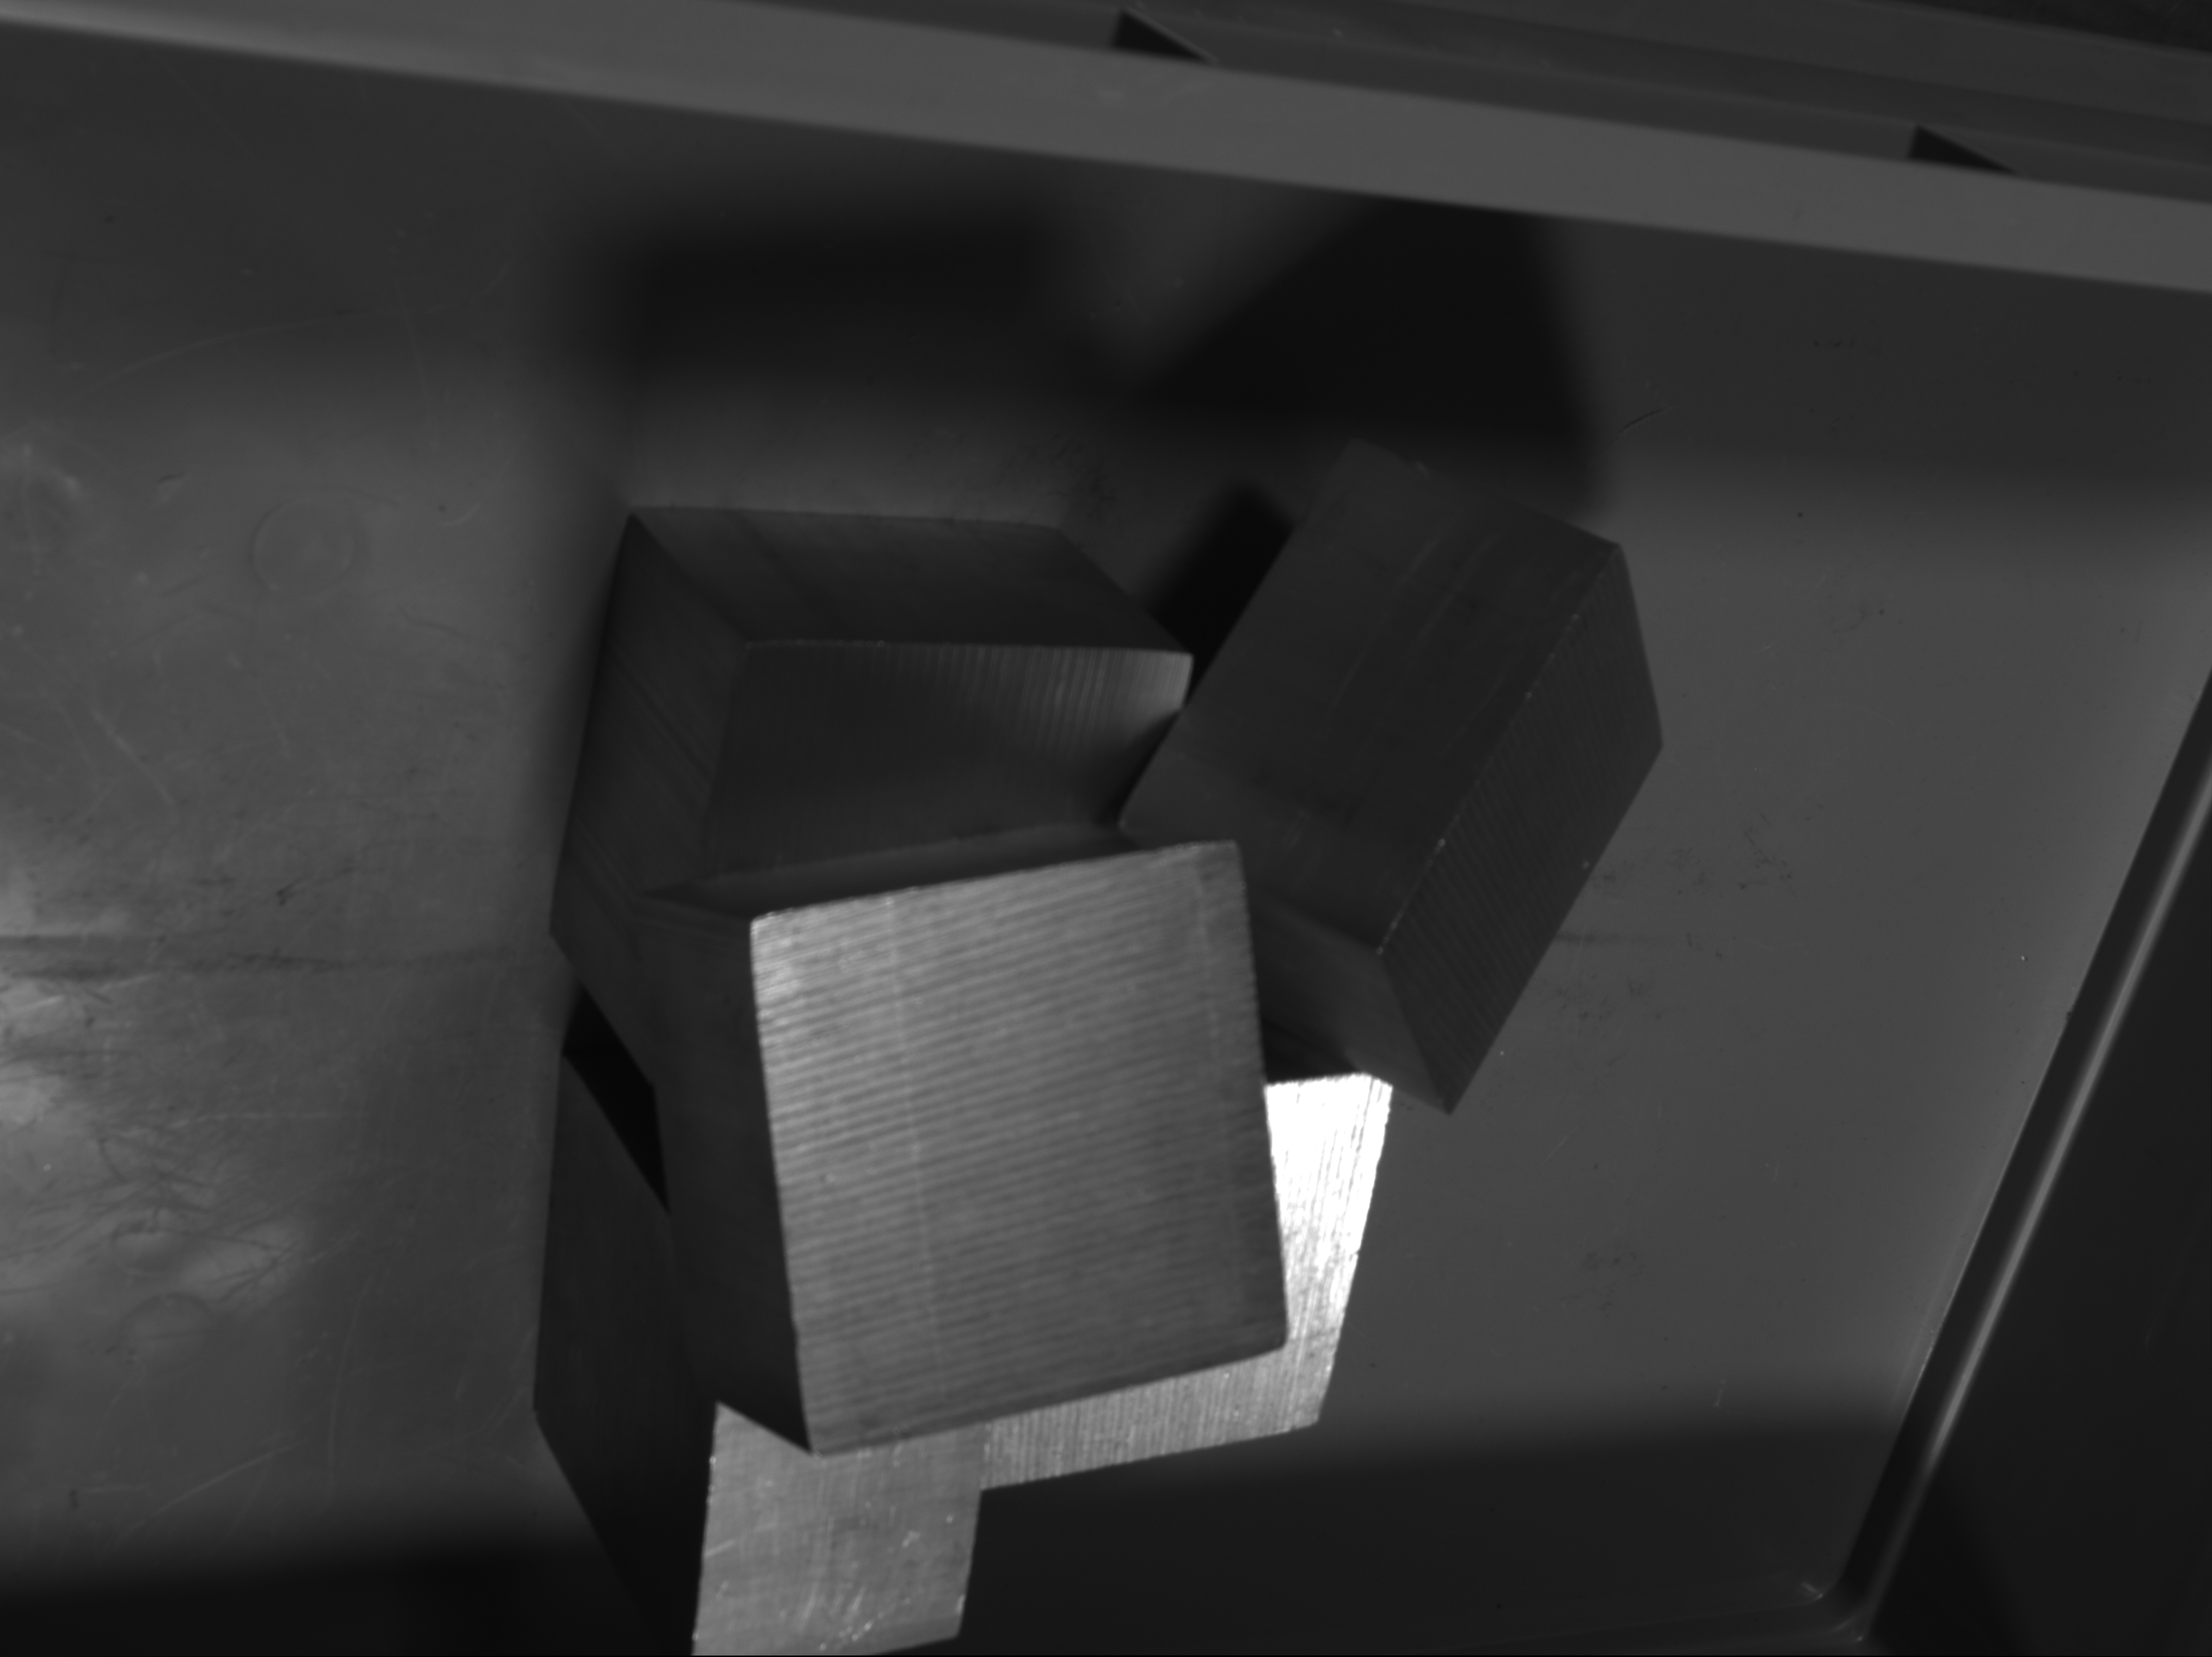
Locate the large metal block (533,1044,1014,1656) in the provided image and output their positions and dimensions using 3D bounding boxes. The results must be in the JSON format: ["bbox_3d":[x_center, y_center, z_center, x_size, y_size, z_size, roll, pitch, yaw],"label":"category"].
[{"bbox_3d":[-0.060,0.090,0.634,0.050,0.080,0.080,-6,121,-27],"label":"large metal block"}]

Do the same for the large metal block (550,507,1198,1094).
[{"bbox_3d":[-0.040,-0.005,0.607,0.080,0.050,0.080,-1,119,-30],"label":"large metal block"}]

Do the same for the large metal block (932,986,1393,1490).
[{"bbox_3d":[0.000,0.070,0.674,0.080,0.050,0.080,-5,121,-28],"label":"large metal block"}]

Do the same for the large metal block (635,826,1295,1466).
[{"bbox_3d":[-0.022,0.045,0.563,0.080,0.050,0.080,-9,97,-25],"label":"large metal block"}]

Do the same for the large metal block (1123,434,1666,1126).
[{"bbox_3d":[0.051,-0.007,0.625,0.080,0.050,0.080,-58,156,-14],"label":"large metal block"}]
